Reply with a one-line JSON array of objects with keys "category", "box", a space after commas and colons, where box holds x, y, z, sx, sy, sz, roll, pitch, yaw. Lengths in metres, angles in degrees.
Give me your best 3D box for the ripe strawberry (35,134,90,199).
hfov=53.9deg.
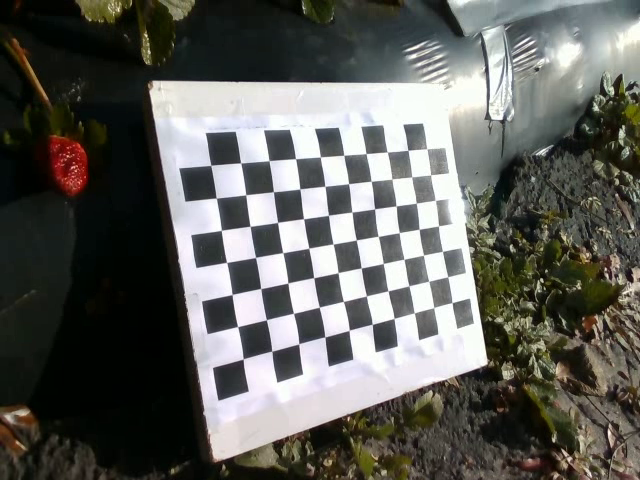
[{"category": "ripe strawberry", "box": [-0.059, -0.017, 0.144, 0.015, 0.015, 0.023, 1, 33, -34]}]
